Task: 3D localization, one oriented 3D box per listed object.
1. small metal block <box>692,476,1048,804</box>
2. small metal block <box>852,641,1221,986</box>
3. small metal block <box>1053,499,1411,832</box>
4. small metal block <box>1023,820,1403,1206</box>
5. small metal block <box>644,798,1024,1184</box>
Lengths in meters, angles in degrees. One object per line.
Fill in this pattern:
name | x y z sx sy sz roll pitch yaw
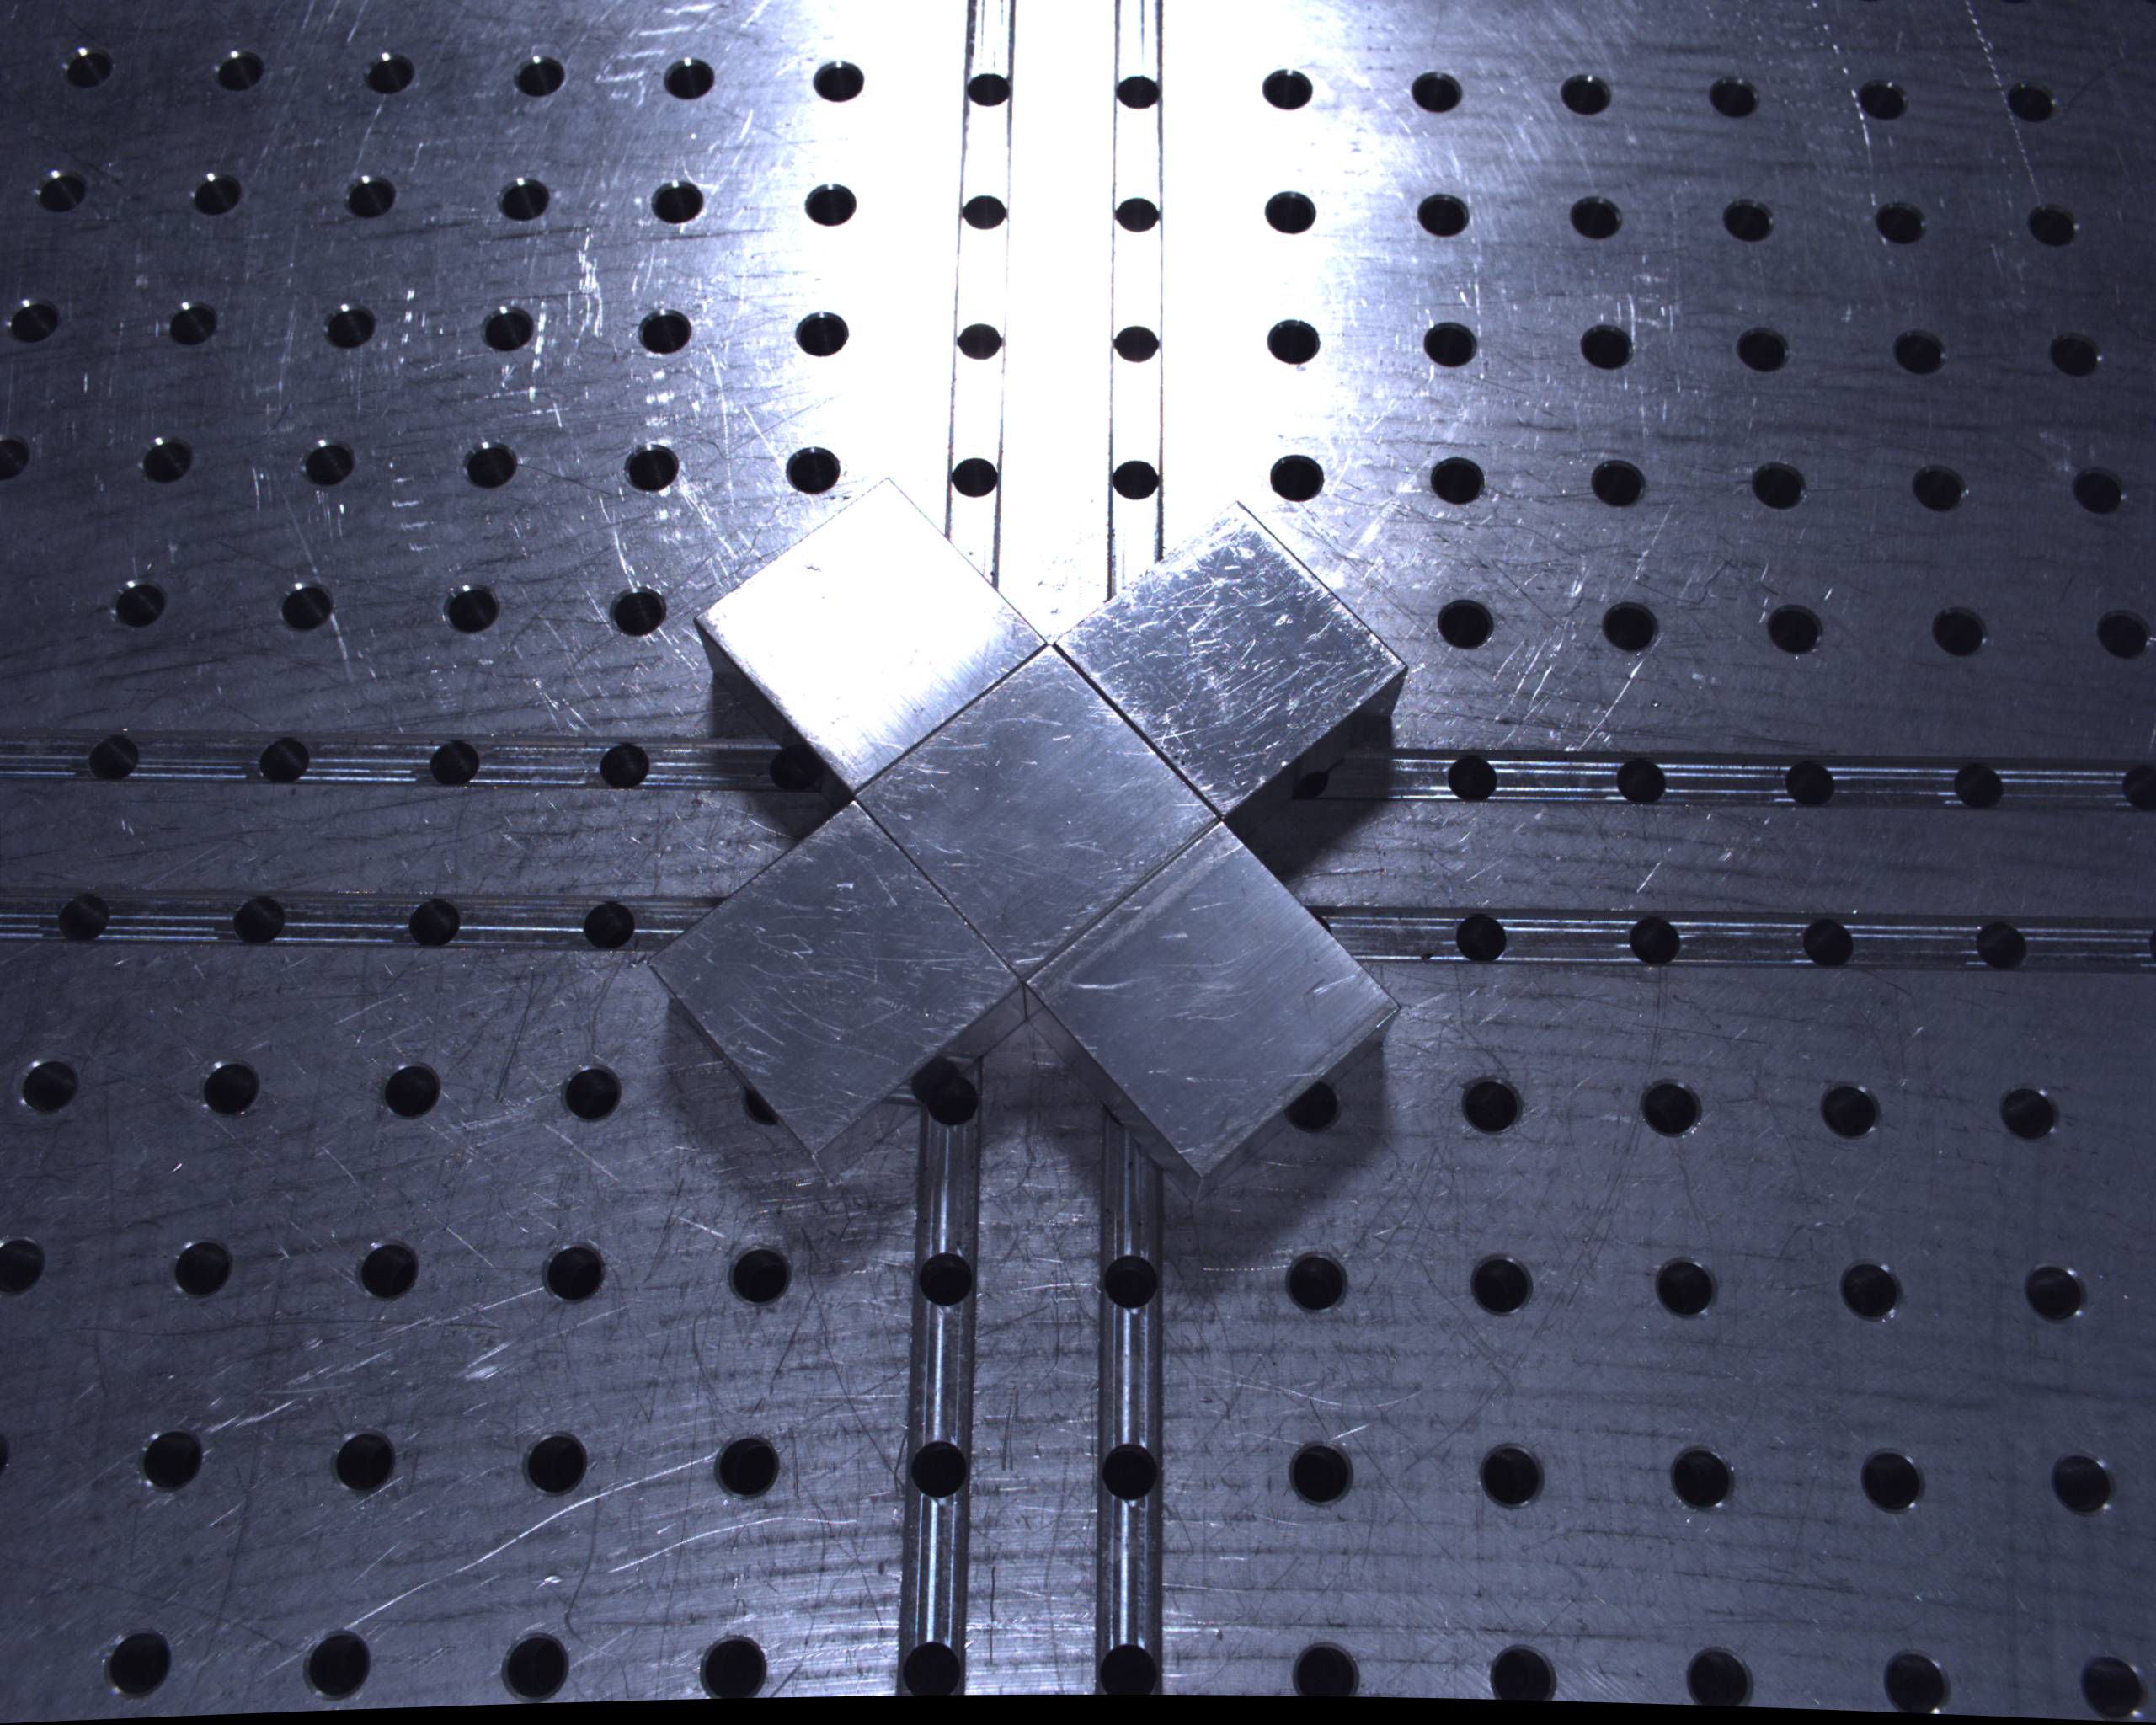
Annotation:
small metal block | -0.041 -0.042 0.426 0.050 0.025 0.050 -39 75 -13
small metal block | -0.008 -0.007 0.413 0.050 0.025 0.050 -39 75 -13
small metal block | 0.030 -0.037 0.425 0.050 0.025 0.050 -39 75 -13
small metal block | 0.025 0.029 0.401 0.050 0.025 0.050 -39 75 -13
small metal block | -0.046 0.025 0.402 0.050 0.025 0.050 -39 75 -13
